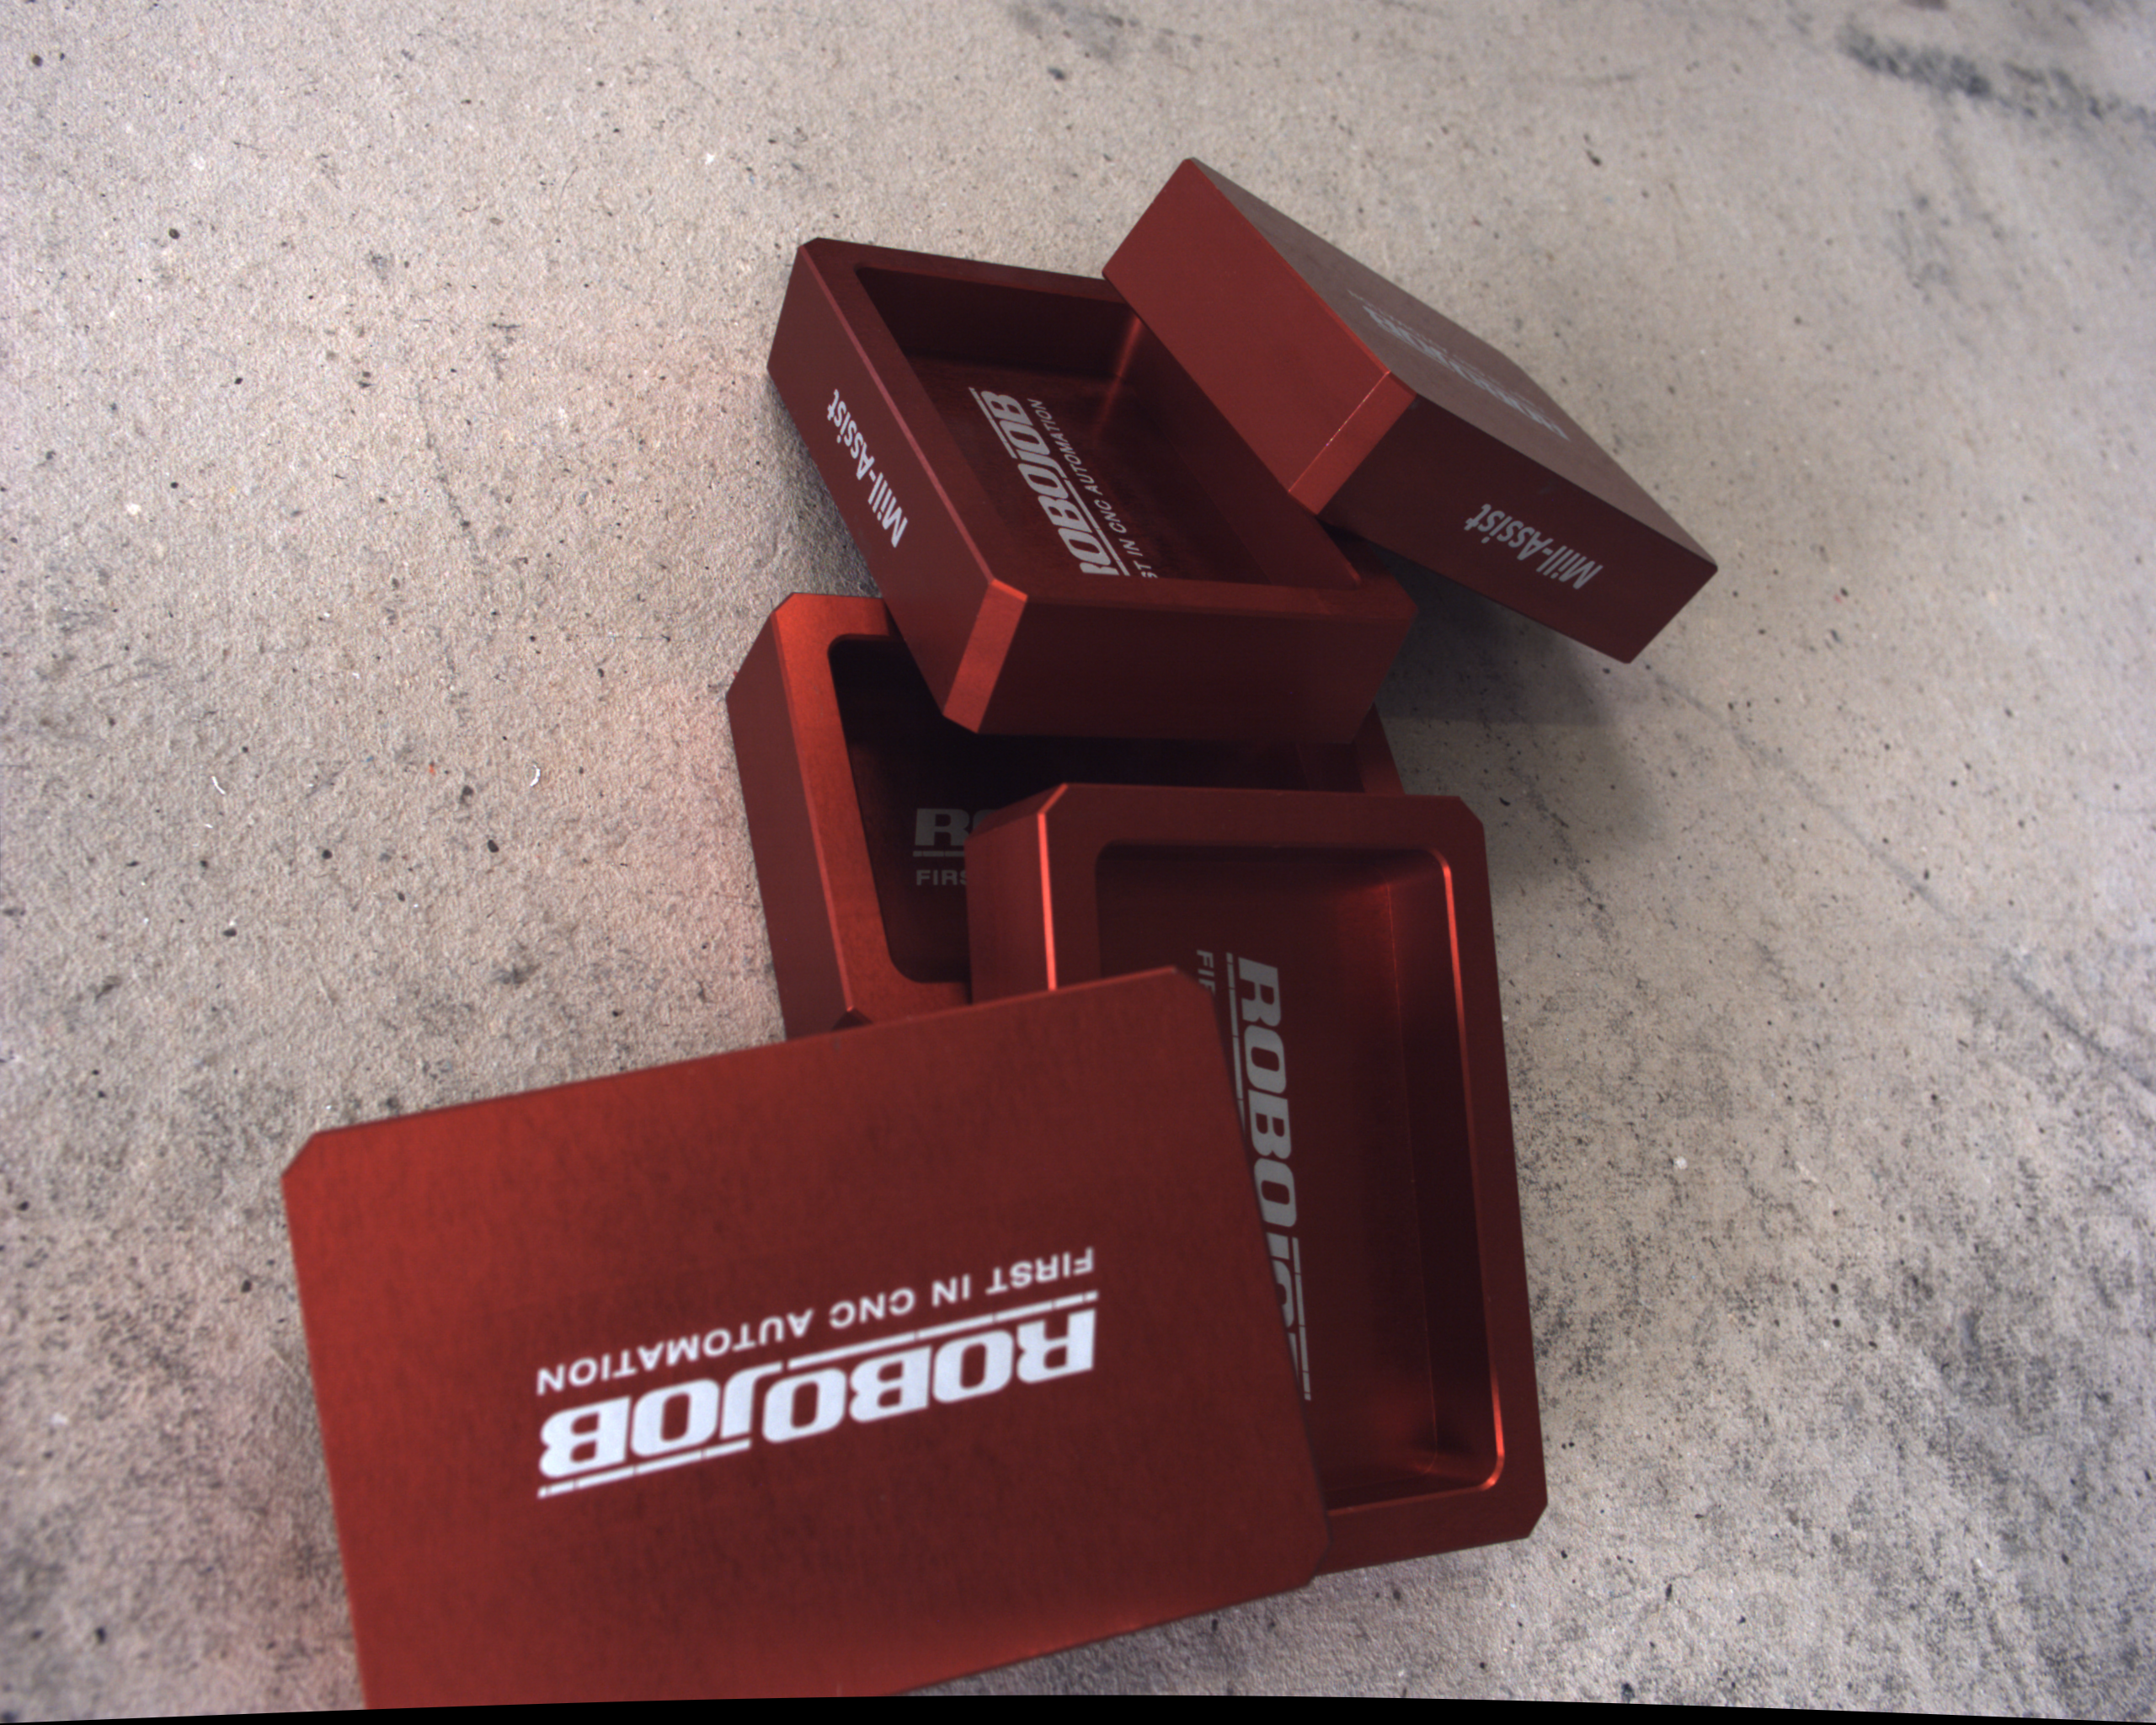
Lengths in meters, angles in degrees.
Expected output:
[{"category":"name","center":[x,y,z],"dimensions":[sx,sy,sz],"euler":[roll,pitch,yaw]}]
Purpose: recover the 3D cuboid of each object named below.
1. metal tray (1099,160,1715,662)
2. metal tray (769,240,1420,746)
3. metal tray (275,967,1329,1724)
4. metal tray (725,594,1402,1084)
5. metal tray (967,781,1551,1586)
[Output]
[{"category":"metal tray","center":[0.075,-0.097,0.460],"dimensions":[0.131,0.030,0.090],"euler":[14,34,-45]},{"category":"metal tray","center":[-0.001,-0.076,0.422],"dimensions":[0.091,0.030,0.130],"euler":[0,42,-29]},{"category":"metal tray","center":[-0.038,0.071,0.300],"dimensions":[0.131,0.030,0.090],"euler":[-10,83,-13]},{"category":"metal tray","center":[0.004,-0.004,0.407],"dimensions":[0.131,0.030,0.090],"euler":[0,62,-28]},{"category":"metal tray","center":[0.031,0.053,0.360],"dimensions":[0.091,0.030,0.129],"euler":[1,80,-28]}]
